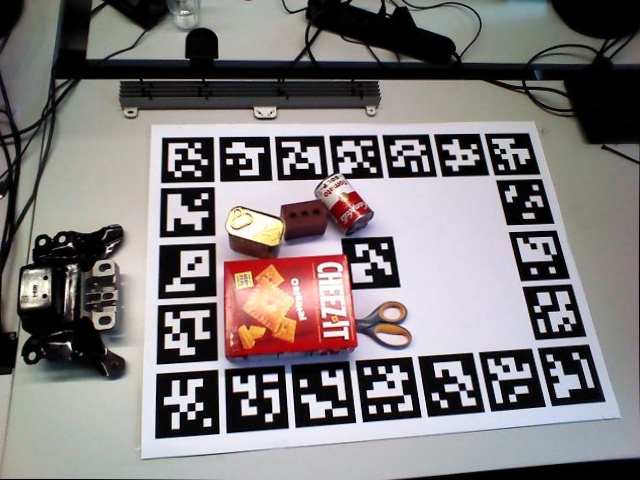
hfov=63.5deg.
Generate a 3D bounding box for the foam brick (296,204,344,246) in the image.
[{"bbox_3d":[-0.001,-0.027,0.951,0.078,0.051,0.052,-12,72,-10],"label":"foam brick"}]

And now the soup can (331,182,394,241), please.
[{"bbox_3d":[0.079,-0.056,0.968,0.067,0.068,0.102,-39,72,-17],"label":"soup can"}]

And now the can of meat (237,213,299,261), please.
[{"bbox_3d":[-0.091,0.000,0.912,0.102,0.084,0.057,11,69,-2],"label":"can of meat"}]

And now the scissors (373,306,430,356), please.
[{"bbox_3d":[0.087,0.166,0.893,0.203,0.016,0.087,-7,71,-8],"label":"scissors"}]

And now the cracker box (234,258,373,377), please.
[{"bbox_3d":[-0.028,0.127,0.864,0.214,0.072,0.163,-8,70,-4],"label":"cracker box"}]
